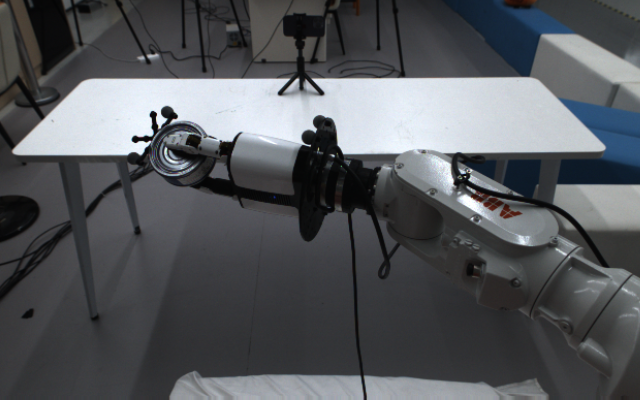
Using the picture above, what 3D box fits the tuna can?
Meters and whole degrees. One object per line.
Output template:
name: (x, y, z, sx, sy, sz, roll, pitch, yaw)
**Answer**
tuna can: (-0.185, -0.063, 0.659, 0.085, 0.034, 0.085, -2, 73, 7)
